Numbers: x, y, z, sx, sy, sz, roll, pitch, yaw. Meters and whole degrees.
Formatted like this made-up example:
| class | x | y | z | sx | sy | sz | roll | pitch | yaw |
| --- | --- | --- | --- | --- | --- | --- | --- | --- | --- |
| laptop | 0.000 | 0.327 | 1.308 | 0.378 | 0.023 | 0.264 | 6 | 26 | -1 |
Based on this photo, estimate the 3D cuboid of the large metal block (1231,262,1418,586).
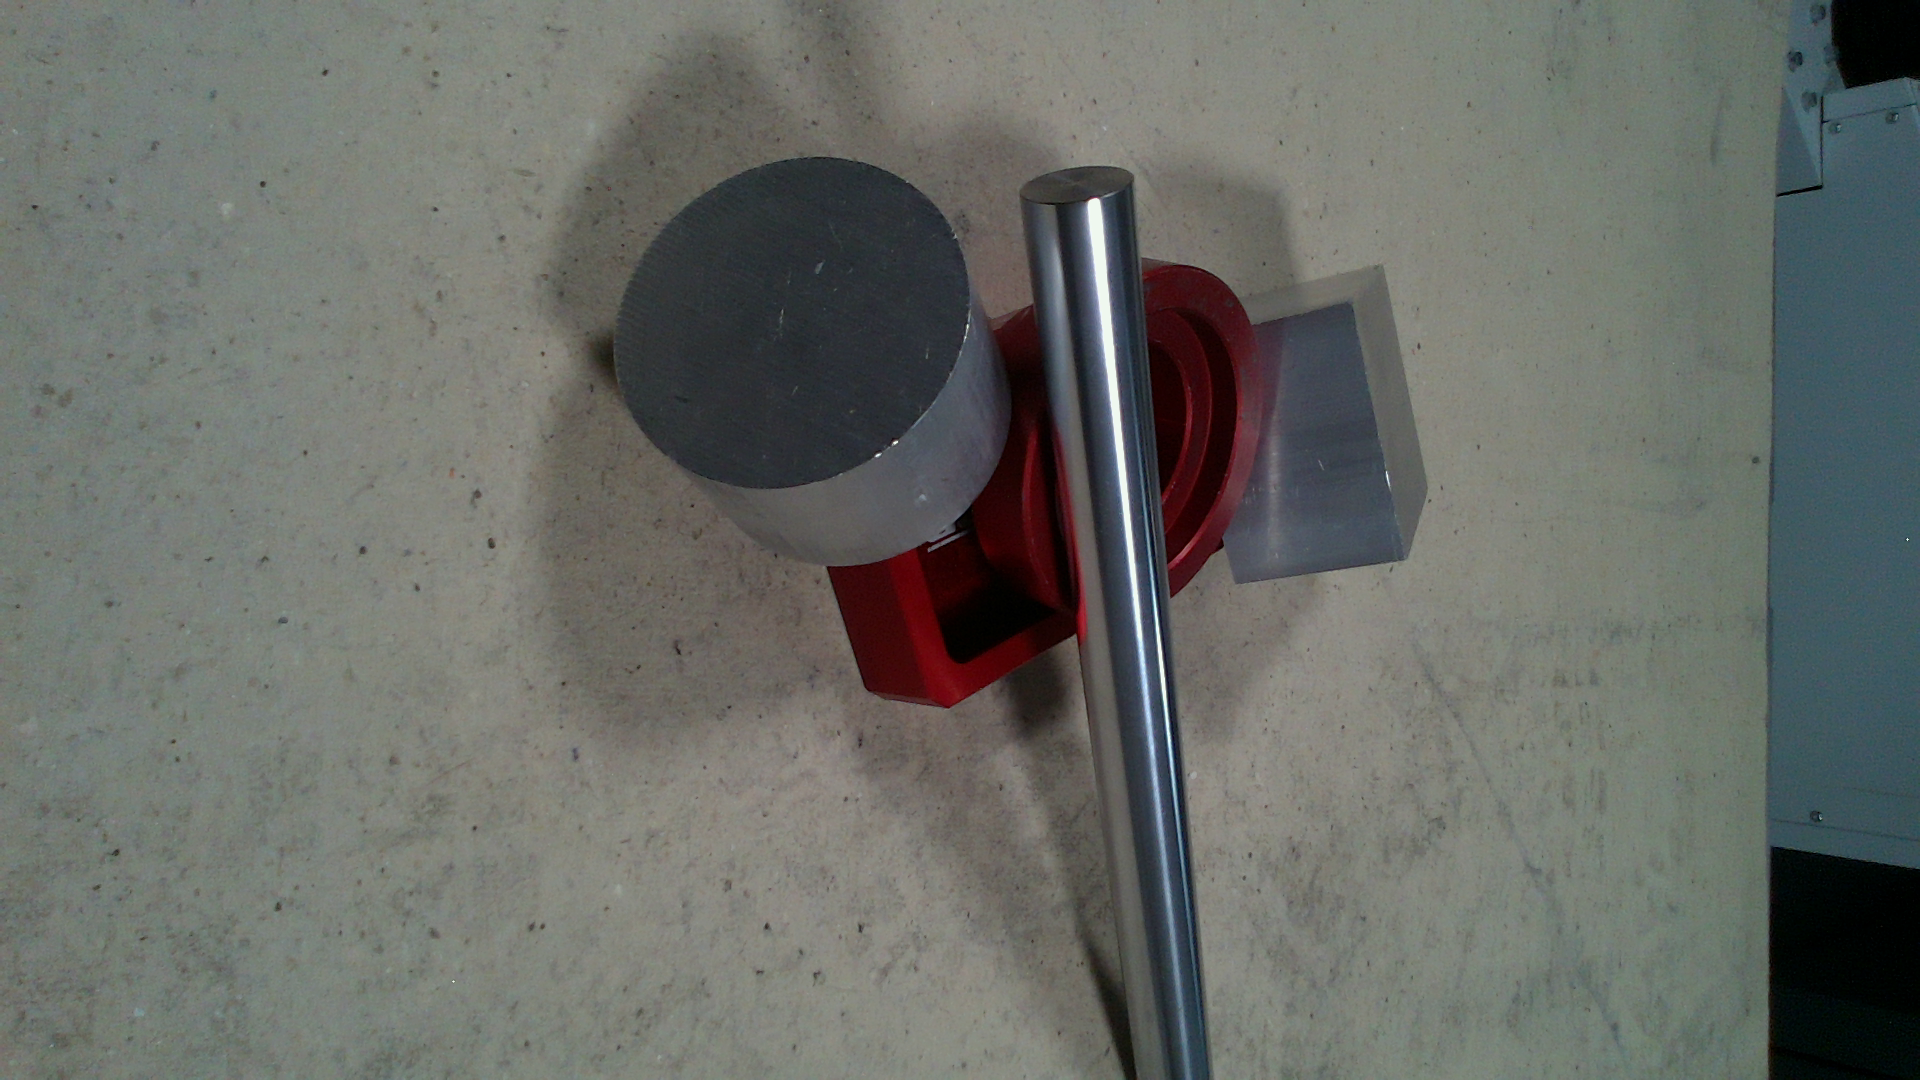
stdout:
| class | x | y | z | sx | sy | sz | roll | pitch | yaw |
| --- | --- | --- | --- | --- | --- | --- | --- | --- | --- |
| large metal block | 0.114 | -0.039 | 0.446 | 0.080 | 0.050 | 0.080 | -40 | 117 | -61 |

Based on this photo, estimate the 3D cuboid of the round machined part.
| class | x | y | z | sx | sy | sz | roll | pitch | yaw |
| --- | --- | --- | --- | --- | --- | --- | --- | --- | --- |
| round machined part | 0.038 | -0.030 | 0.378 | 0.098 | 0.042 | 0.098 | -18 | 117 | -39 |

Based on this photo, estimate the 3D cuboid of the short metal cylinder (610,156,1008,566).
| class | x | y | z | sx | sy | sz | roll | pitch | yaw |
| --- | --- | --- | --- | --- | --- | --- | --- | --- | --- |
| short metal cylinder | -0.033 | -0.040 | 0.318 | 0.050 | 0.080 | 0.080 | 59 | 48 | -67 |

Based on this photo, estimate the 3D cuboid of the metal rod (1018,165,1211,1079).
| class | x | y | z | sx | sy | sz | roll | pitch | yaw |
| --- | --- | --- | --- | --- | --- | --- | --- | --- | --- |
| metal rod | 0.047 | 0.051 | 0.372 | 0.025 | 0.025 | 0.300 | -34 | 128 | -35 |

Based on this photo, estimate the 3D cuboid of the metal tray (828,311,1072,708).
| class | x | y | z | sx | sy | sz | roll | pitch | yaw |
| --- | --- | --- | --- | --- | --- | --- | --- | --- | --- |
| metal tray | 0.019 | -0.019 | 0.401 | 0.130 | 0.030 | 0.090 | -26 | 106 | -37 |
